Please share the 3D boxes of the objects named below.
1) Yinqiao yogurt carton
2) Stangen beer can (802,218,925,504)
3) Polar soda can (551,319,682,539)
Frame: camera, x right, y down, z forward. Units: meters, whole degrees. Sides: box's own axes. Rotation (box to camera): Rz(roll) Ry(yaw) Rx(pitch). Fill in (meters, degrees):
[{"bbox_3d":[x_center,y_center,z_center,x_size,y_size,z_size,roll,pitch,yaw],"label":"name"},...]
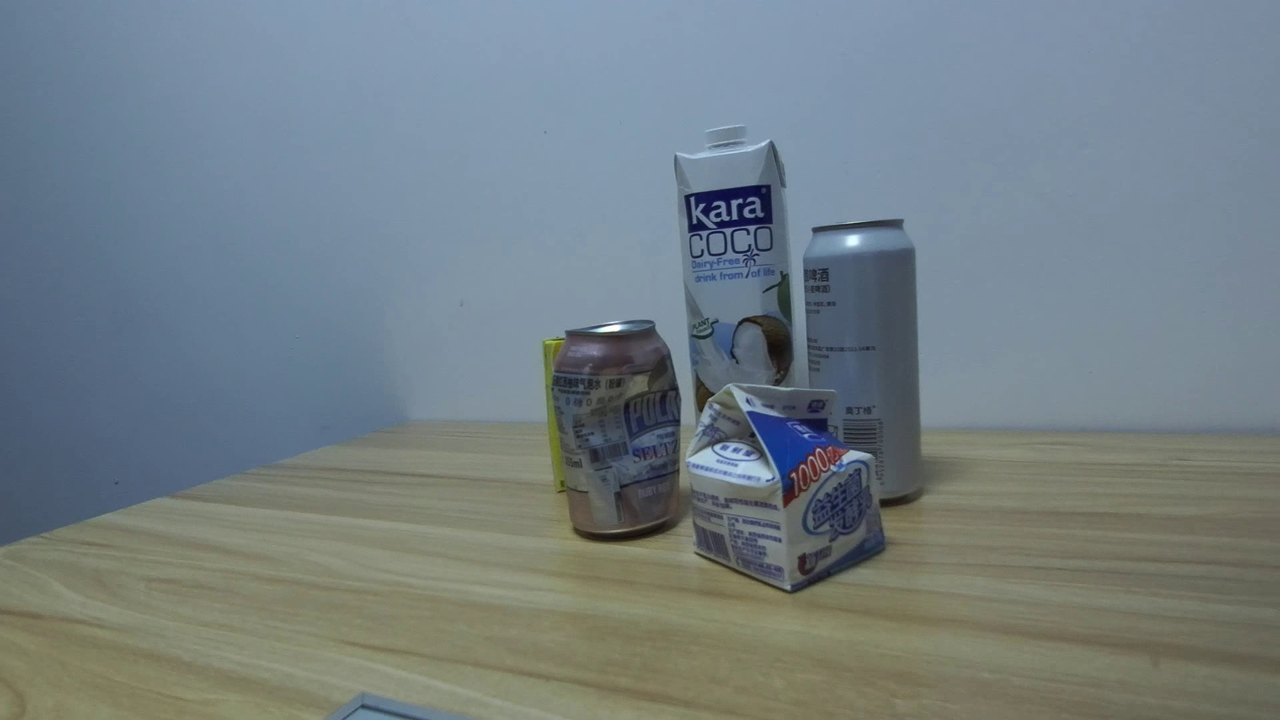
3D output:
[{"bbox_3d":[0.070,0.053,0.359,0.083,0.093,0.077,-10,10,-34],"label":"Yinqiao yogurt carton"},{"bbox_3d":[0.139,0.001,0.444,0.067,0.171,0.067,-4,5,1],"label":"Stangen beer can"},{"bbox_3d":[-0.012,0.041,0.426,0.074,0.121,0.067,-5,7,1],"label":"Polar soda can"}]
